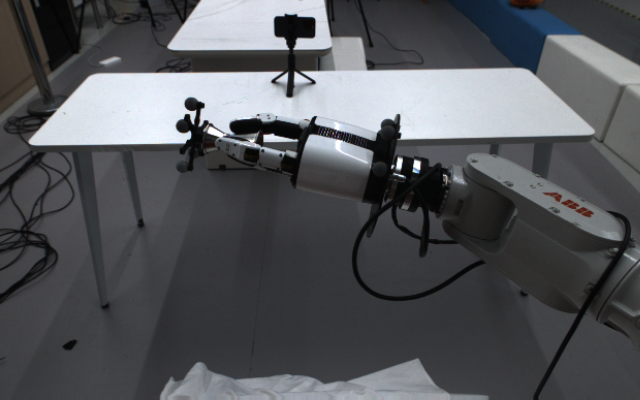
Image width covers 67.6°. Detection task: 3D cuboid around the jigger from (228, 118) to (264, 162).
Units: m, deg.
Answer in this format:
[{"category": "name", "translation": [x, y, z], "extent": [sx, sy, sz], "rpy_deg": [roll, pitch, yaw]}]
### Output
[{"category": "jigger", "translation": [-0.104, -0.075, 0.620], "extent": [0.071, 0.043, 0.043], "rpy_deg": [10, 35, 3]}]
